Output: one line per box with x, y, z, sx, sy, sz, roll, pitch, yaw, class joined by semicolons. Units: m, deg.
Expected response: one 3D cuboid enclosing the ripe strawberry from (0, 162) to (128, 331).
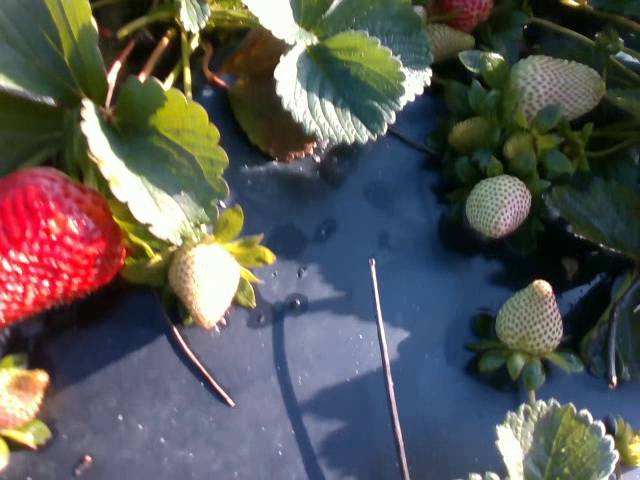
-0.097;0.005;0.195;0.057;0.055;0.072;-7;36;32;ripe strawberry
